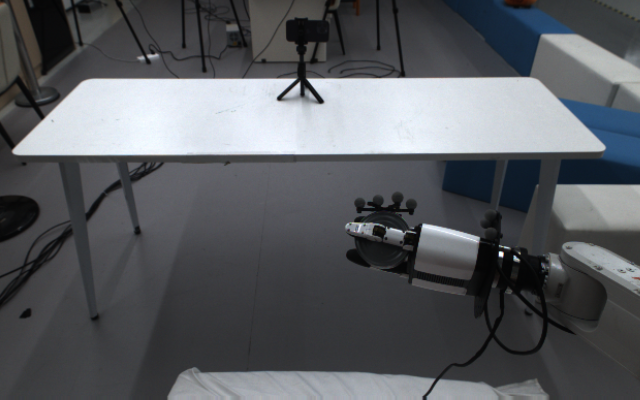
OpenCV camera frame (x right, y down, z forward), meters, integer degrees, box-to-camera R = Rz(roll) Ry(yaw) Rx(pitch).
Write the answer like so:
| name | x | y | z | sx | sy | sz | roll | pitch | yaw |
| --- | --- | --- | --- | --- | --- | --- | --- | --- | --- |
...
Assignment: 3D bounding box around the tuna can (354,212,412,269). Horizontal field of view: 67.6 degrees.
| name | x | y | z | sx | sy | sz | roll | pitch | yaw |
| --- | --- | --- | --- | --- | --- | --- | --- | --- | --- |
| tuna can | 0.098 | 0.065 | 0.733 | 0.085 | 0.034 | 0.085 | -4 | 70 | 11 |
